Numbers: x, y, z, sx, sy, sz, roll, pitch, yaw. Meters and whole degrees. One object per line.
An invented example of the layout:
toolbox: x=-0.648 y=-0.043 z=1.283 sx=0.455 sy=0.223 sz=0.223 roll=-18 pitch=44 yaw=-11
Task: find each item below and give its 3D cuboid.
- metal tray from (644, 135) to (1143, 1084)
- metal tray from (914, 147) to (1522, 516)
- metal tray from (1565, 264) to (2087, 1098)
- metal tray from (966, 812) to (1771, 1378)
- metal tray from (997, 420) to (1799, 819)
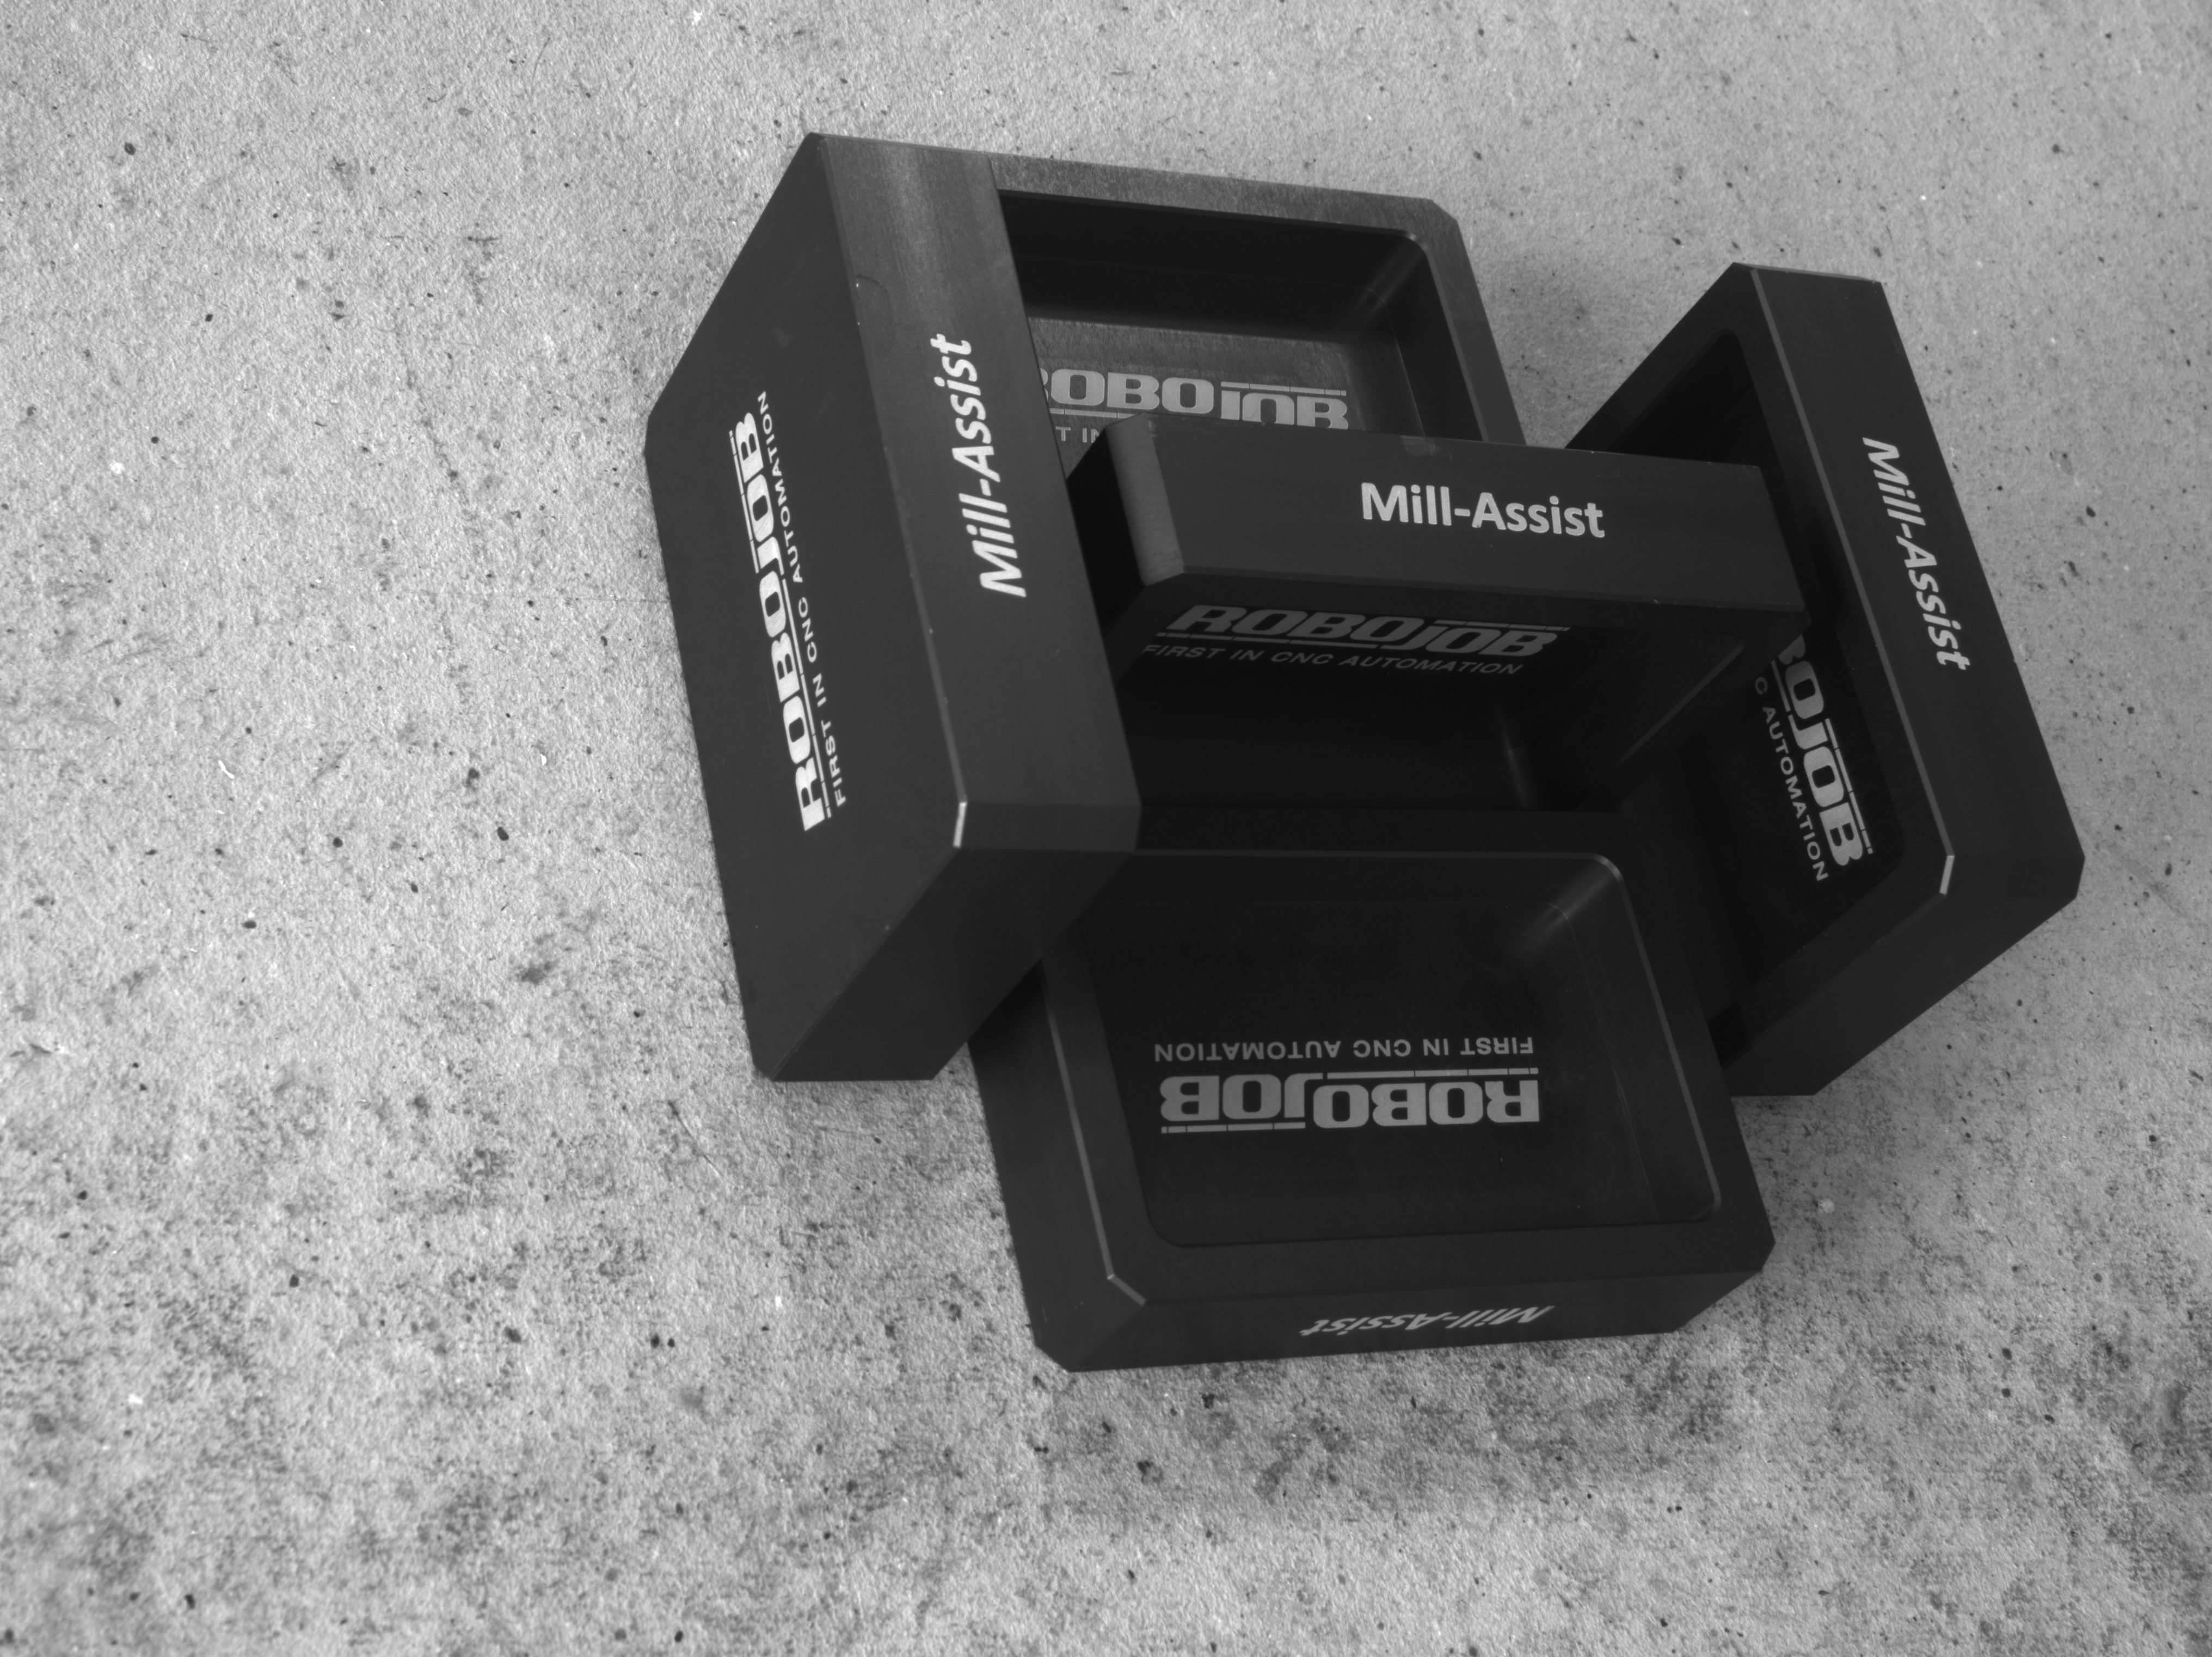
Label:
metal tray: x=-0.038 y=-0.034 z=0.599 sx=0.030 sy=0.090 sz=0.130 roll=1 pitch=61 yaw=-28
metal tray: x=0.014 y=-0.078 z=0.692 sx=0.130 sy=0.030 sz=0.090 roll=1 pitch=64 yaw=-28
metal tray: x=0.124 y=-0.026 z=0.680 sx=0.030 sy=0.090 sz=0.130 roll=1 pitch=61 yaw=-27
metal tray: x=0.043 y=0.044 z=0.635 sx=0.130 sy=0.030 sz=0.090 roll=1 pitch=60 yaw=-28
metal tray: x=0.042 y=-0.030 z=0.641 sx=0.130 sy=0.090 sz=0.030 roll=1 pitch=62 yaw=-27
